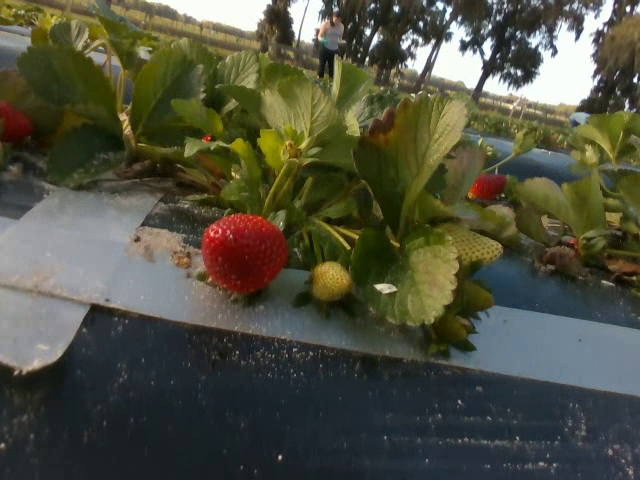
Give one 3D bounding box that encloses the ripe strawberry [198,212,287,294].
[{"bbox_3d":[-0.017,0.001,0.126,0.023,0.021,0.026,-5,-2,11],"label":"ripe strawberry"}]
